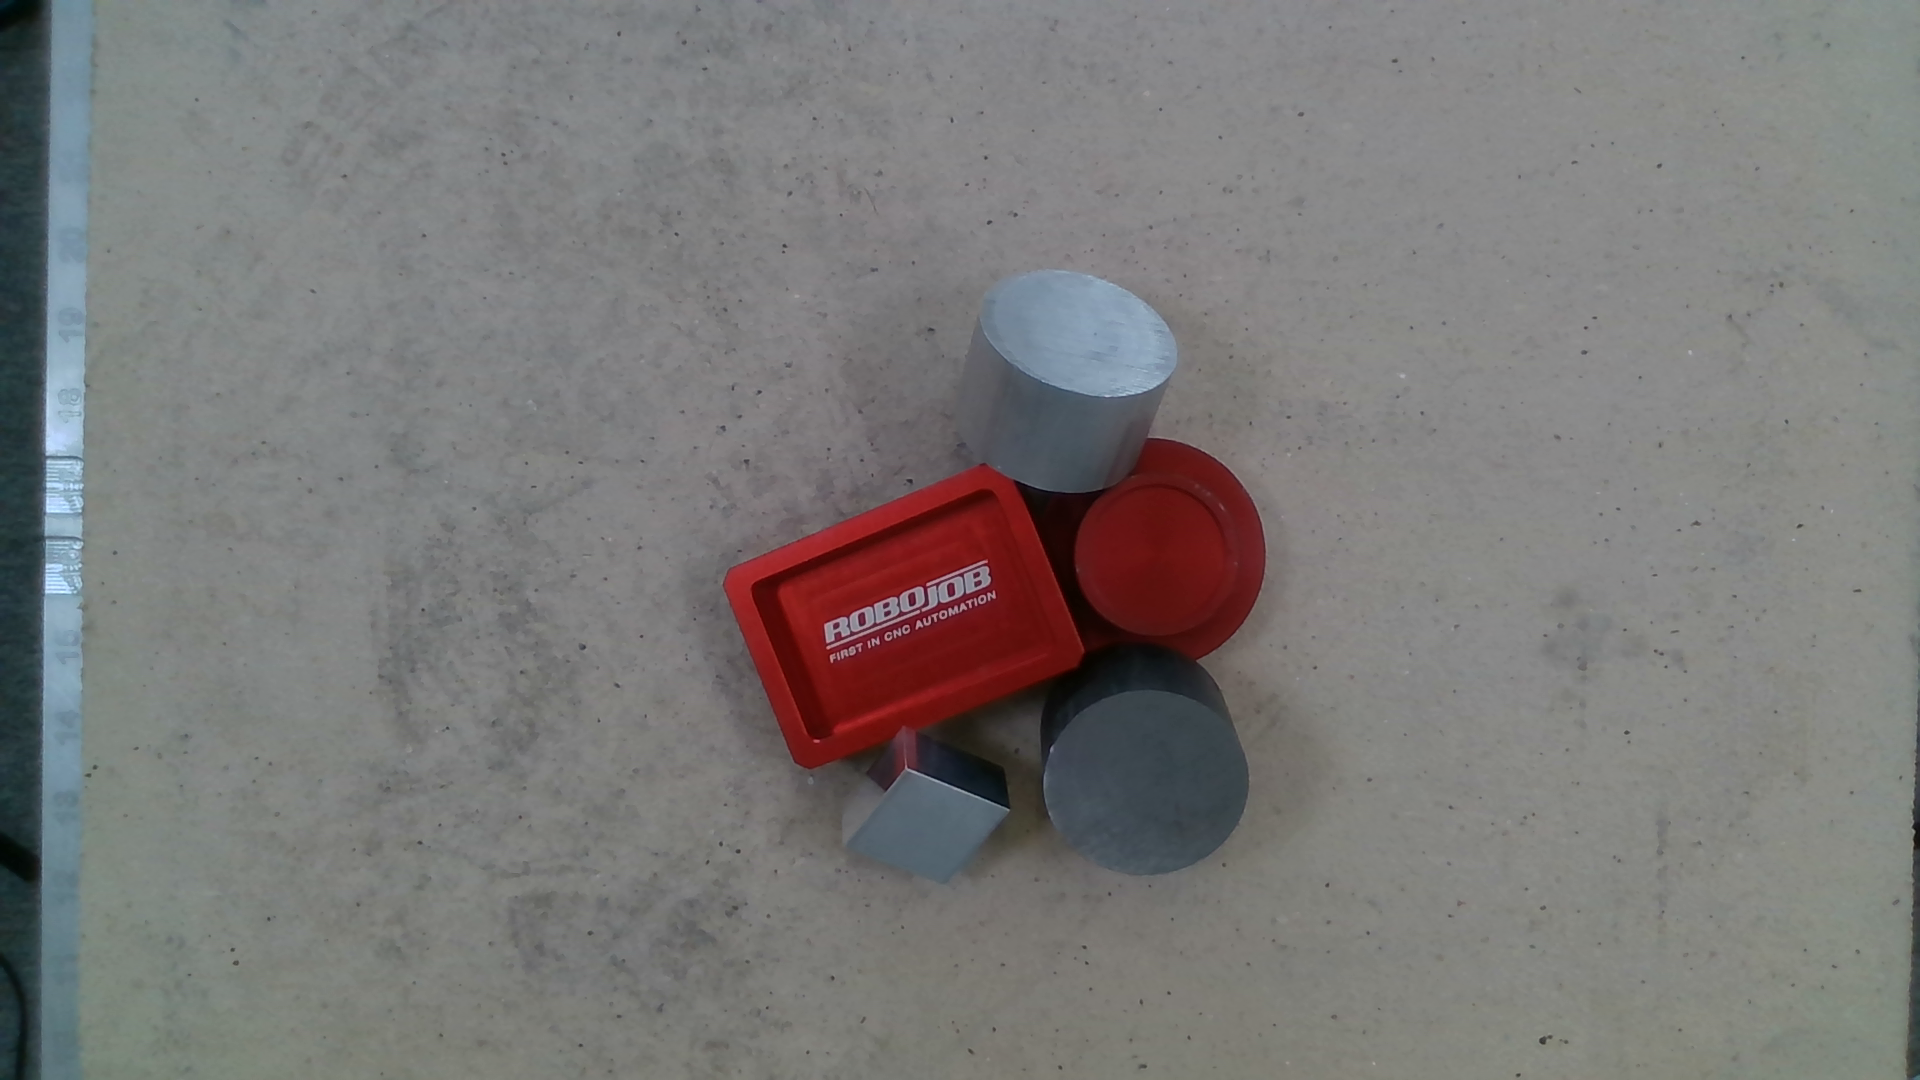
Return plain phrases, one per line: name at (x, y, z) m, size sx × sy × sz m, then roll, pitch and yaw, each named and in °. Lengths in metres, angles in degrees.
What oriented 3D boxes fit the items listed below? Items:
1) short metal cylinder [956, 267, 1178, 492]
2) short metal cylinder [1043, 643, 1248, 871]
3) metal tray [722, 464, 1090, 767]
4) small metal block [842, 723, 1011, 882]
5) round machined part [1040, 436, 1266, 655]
short metal cylinder at (0.041, -0.065, 0.553) m, size 0.080 × 0.080 × 0.050 m, roll 16°, pitch 134°, yaw 0°
short metal cylinder at (0.074, 0.088, 0.566) m, size 0.080 × 0.050 × 0.080 m, roll 0°, pitch 108°, yaw 1°
metal tray at (-0.022, 0.030, 0.574) m, size 0.130 × 0.030 × 0.090 m, roll -22°, pitch 91°, yaw 10°
small metal block at (-0.015, 0.110, 0.571) m, size 0.050 × 0.025 × 0.050 m, roll 26°, pitch 119°, yaw -23°
round machined part at (0.080, 0.005, 0.580) m, size 0.098 × 0.042 × 0.098 m, roll 0°, pitch 91°, yaw 0°
